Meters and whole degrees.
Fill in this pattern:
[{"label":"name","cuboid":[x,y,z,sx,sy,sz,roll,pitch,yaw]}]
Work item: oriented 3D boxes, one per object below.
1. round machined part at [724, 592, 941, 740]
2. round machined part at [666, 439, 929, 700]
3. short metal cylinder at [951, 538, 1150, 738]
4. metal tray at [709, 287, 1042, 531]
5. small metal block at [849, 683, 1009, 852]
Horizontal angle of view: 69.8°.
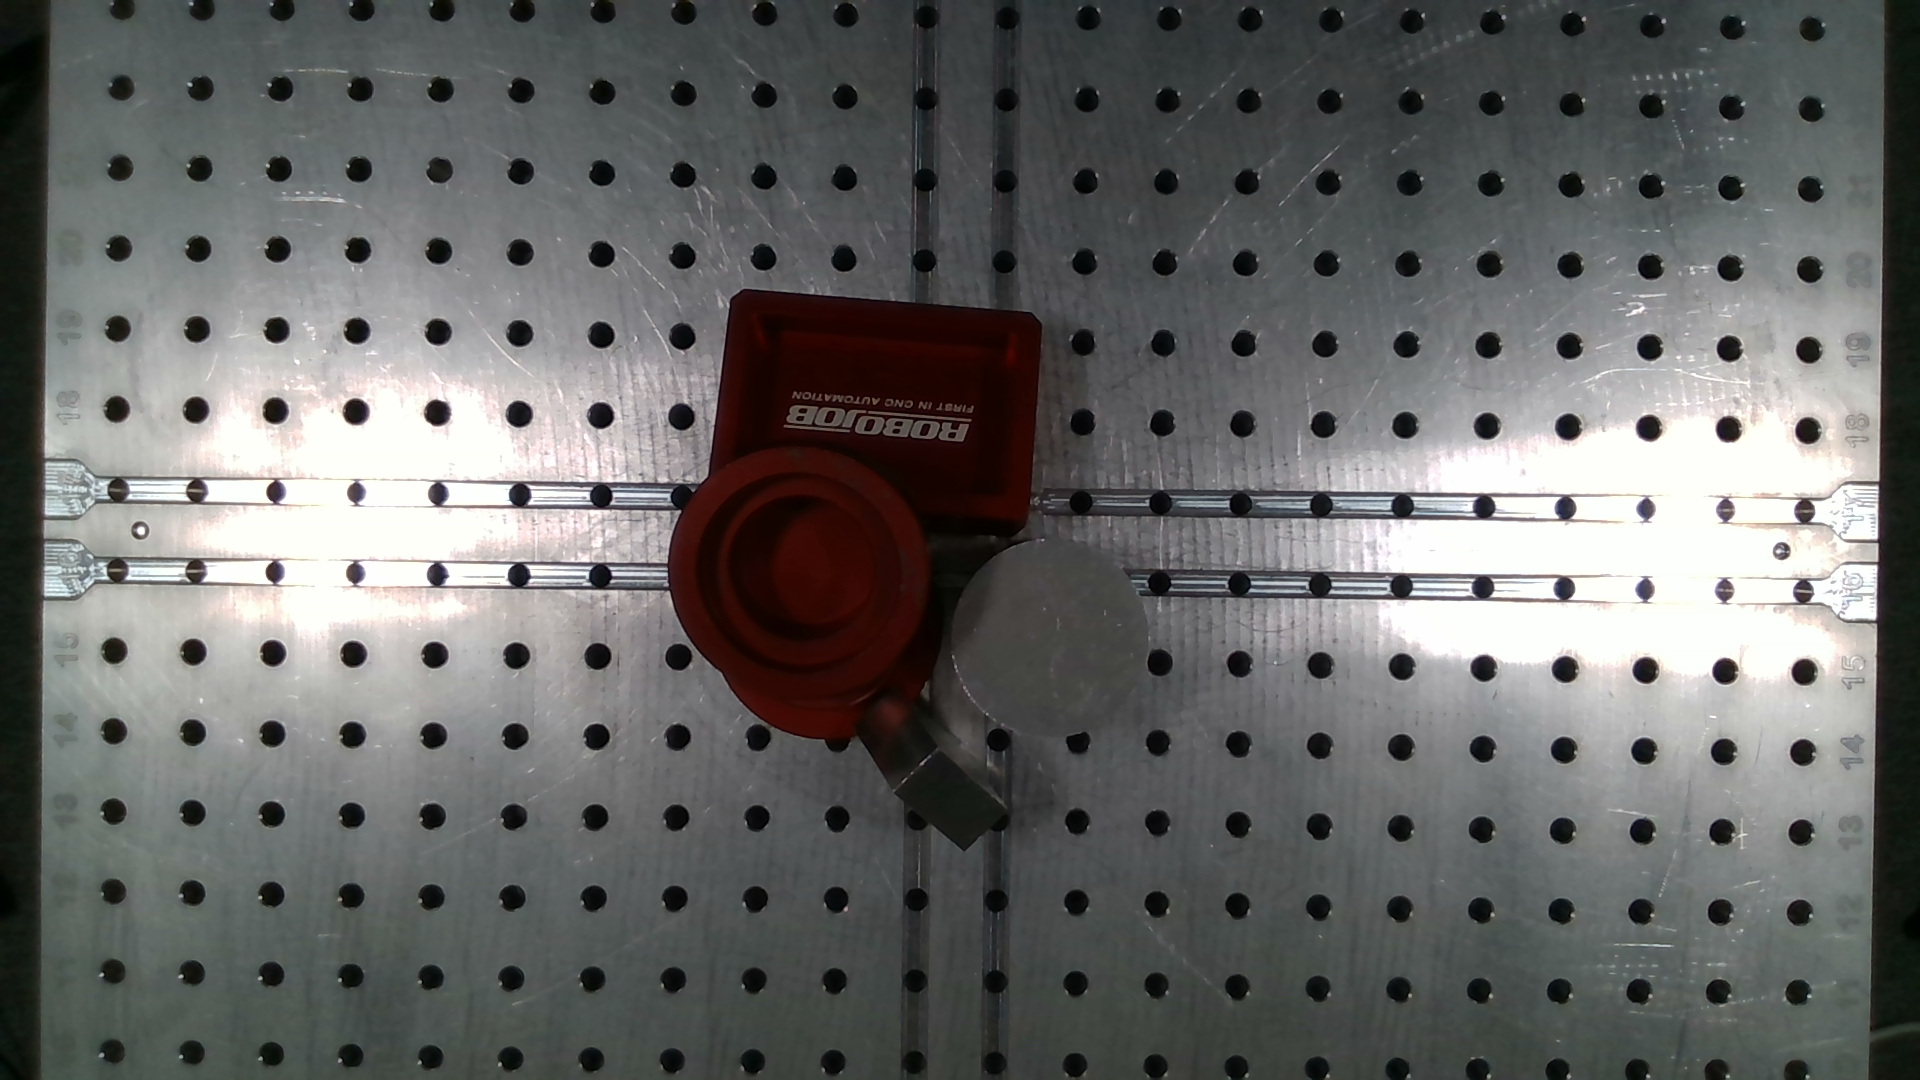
[{"label":"round machined part","cuboid":[-0.057,0.036,0.580,0.098,0.042,0.098,0,90,0]},{"label":"round machined part","cuboid":[-0.060,0.009,0.533,0.098,0.042,0.098,0,101,2]},{"label":"short metal cylinder","cuboid":[0.036,0.039,0.577,0.080,0.050,0.080,0,90,0]},{"label":"metal tray","cuboid":[-0.034,-0.053,0.575,0.130,0.030,0.090,5,76,0]},{"label":"small metal block","cuboid":[-0.013,0.093,0.568,0.025,0.050,0.050,-44,125,0]}]
